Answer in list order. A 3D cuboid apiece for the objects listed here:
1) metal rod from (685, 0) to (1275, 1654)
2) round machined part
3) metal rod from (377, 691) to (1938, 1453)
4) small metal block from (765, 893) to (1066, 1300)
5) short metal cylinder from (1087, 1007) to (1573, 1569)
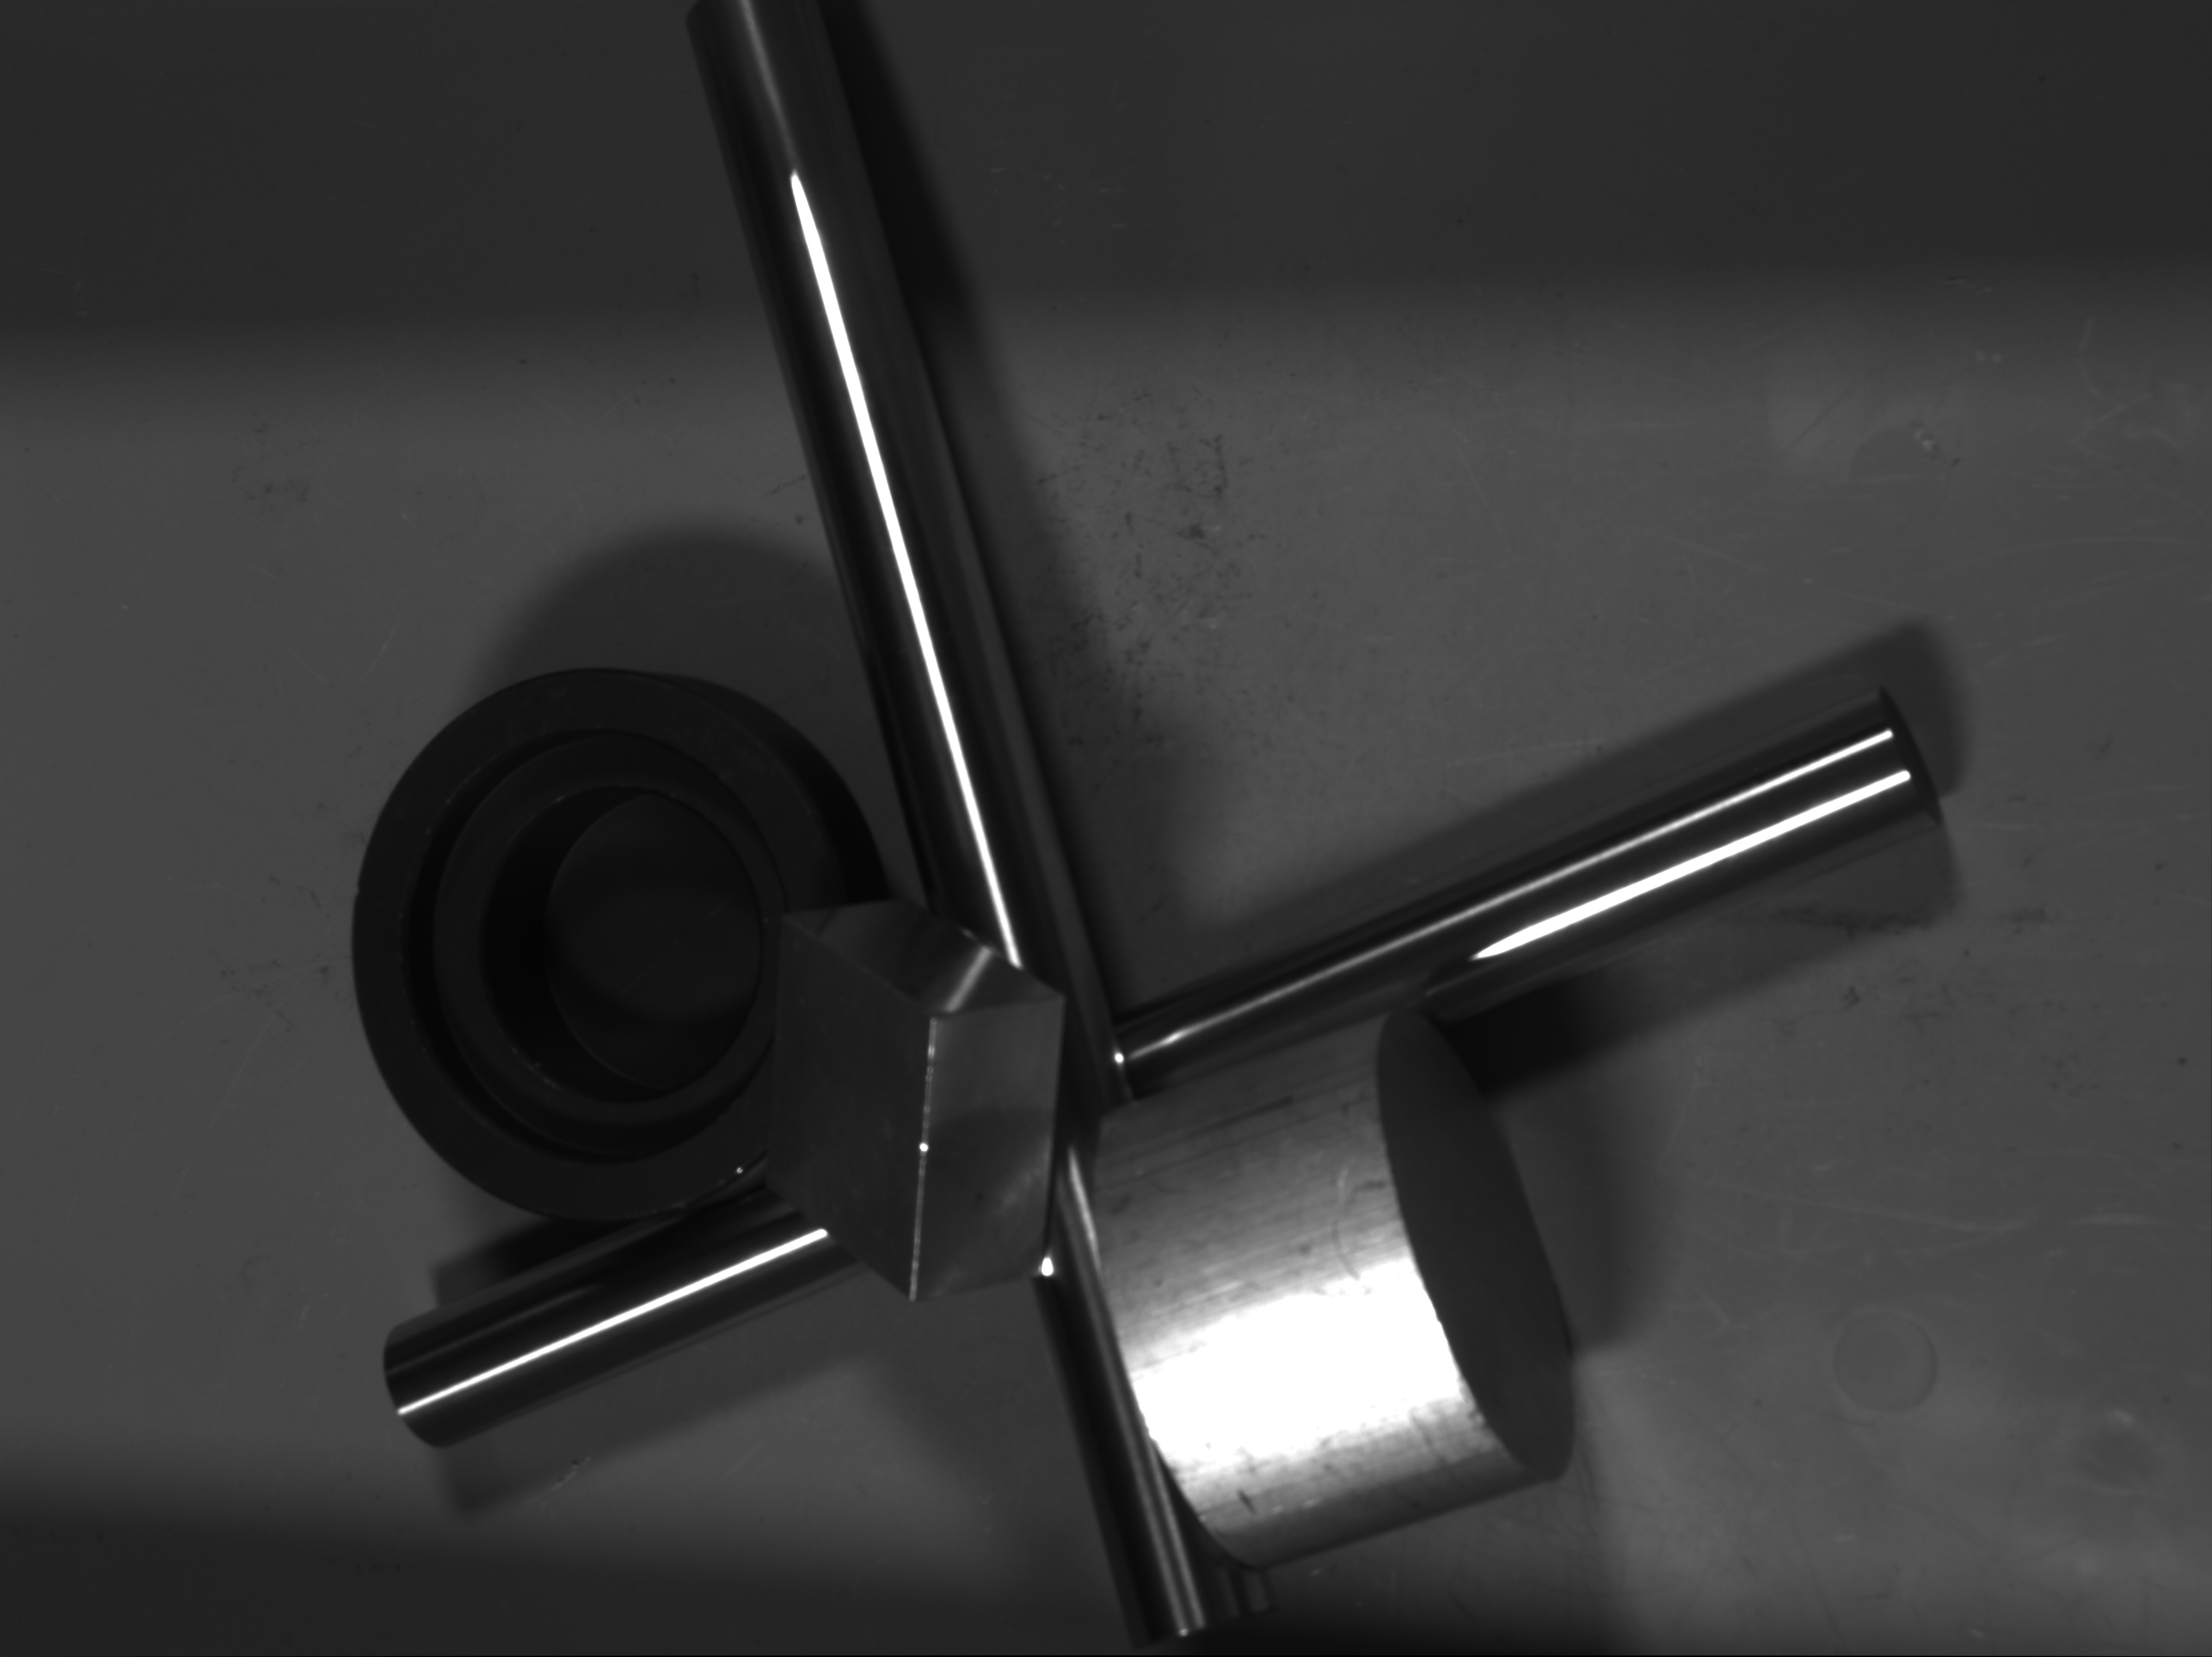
[{"bbox_3d":[-0.024,-0.009,0.633,0.025,0.025,0.300,-20,76,19],"label":"metal rod"},{"bbox_3d":[-0.085,0.020,0.665,0.098,0.042,0.098,0,90,20],"label":"round machined part"},{"bbox_3d":[0.001,0.047,0.643,0.300,0.025,0.025,-24,82,18],"label":"metal rod"},{"bbox_3d":[-0.033,0.044,0.611,0.050,0.025,0.050,29,120,51],"label":"small metal block"},{"bbox_3d":[0.038,0.075,0.600,0.050,0.080,0.080,-21,83,19],"label":"short metal cylinder"}]
